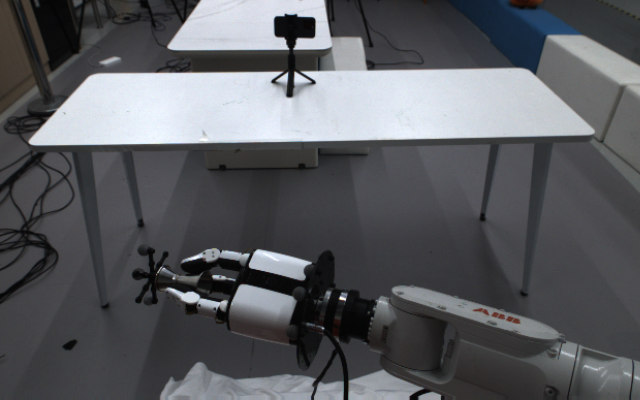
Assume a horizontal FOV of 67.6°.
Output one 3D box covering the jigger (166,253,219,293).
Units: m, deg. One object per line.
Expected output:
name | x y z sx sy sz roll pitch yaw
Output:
jigger | -0.188 0.114 0.691 0.071 0.043 0.043 6 35 15
